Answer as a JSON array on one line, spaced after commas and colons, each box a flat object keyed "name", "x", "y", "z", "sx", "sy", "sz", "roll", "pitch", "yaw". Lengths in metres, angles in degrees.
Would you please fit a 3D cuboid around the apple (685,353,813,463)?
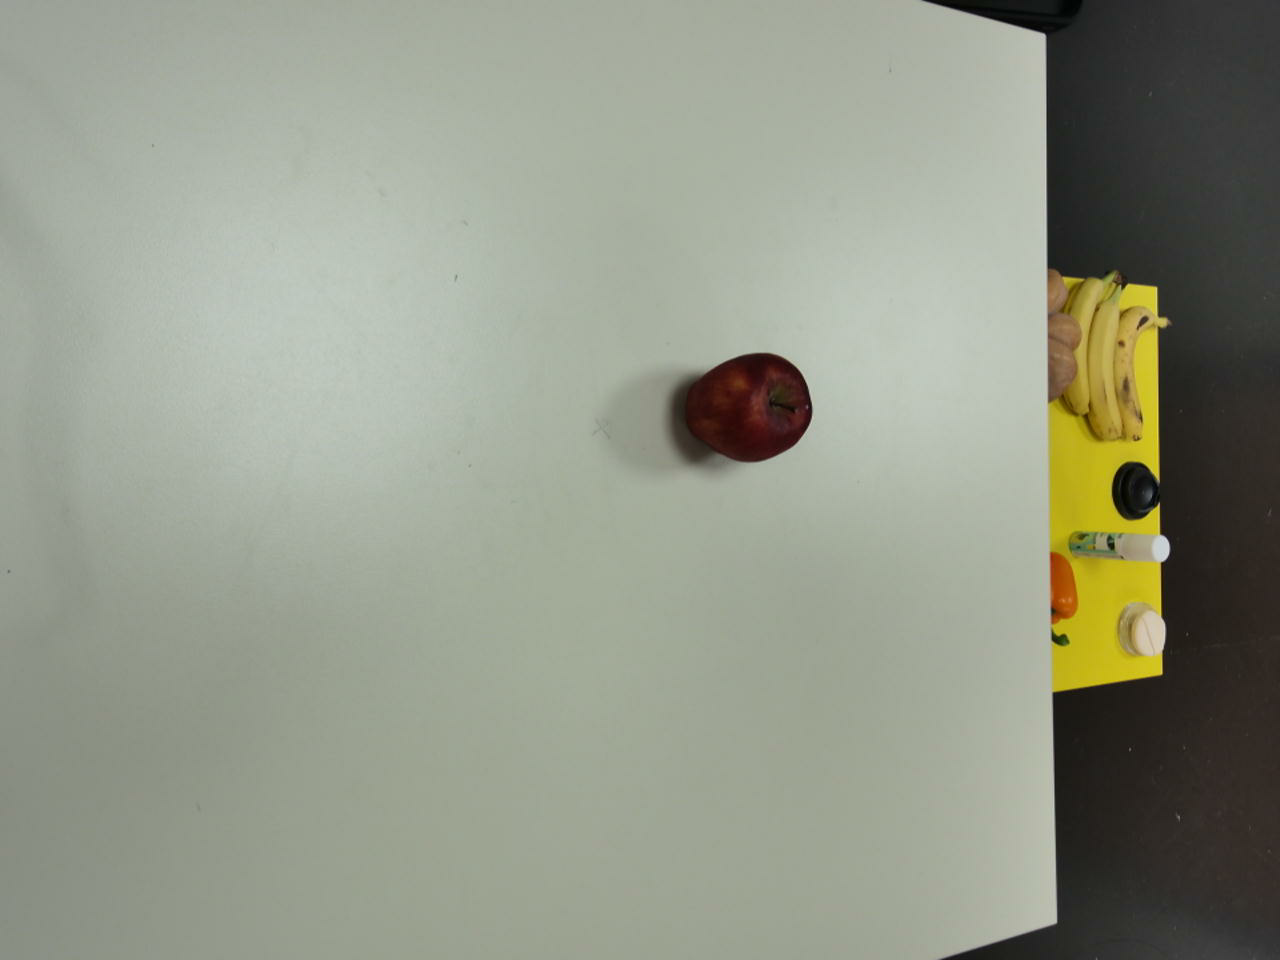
[{"name": "apple", "x": 0.079, "y": -0.052, "z": 0.700, "sx": 0.083, "sy": 0.090, "sz": 0.083, "roll": 0, "pitch": 91, "yaw": -28}]
